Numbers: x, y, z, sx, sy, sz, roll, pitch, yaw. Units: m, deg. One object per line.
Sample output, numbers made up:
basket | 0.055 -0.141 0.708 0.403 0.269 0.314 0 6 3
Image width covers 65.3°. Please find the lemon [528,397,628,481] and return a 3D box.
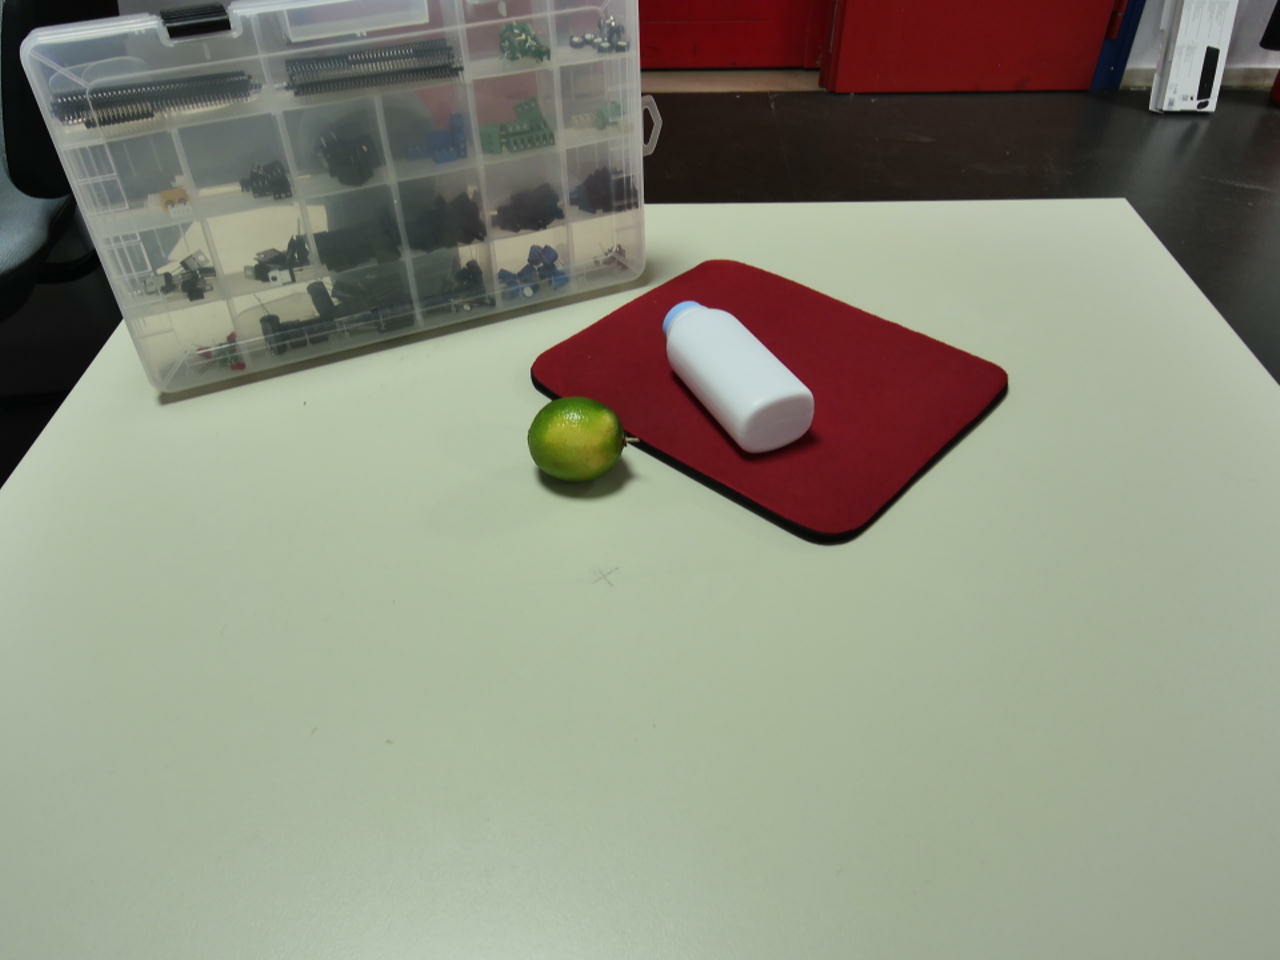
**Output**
lemon | -0.039 -0.025 0.606 0.054 0.050 0.055 -26 47 -30
